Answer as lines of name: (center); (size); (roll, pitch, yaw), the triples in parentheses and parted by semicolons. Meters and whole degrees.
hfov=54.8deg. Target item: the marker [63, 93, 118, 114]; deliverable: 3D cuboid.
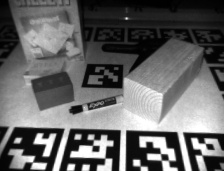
marker: (-0.048, 0.039, 0.476); (0.122, 0.020, 0.019); (-14, 48, -13)

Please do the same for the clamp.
clamp: (0.086, -0.115, 0.621); (0.204, 0.037, 0.163); (-22, 49, -20)

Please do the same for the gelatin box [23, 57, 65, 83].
gelatin box: (-0.173, -0.041, 0.558); (0.089, 0.030, 0.073); (0, 46, 1)

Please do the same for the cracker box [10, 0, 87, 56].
cracker box: (-0.157, -0.182, 0.559); (0.164, 0.215, 0.071); (-1, 43, -2)

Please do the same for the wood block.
wood block: (0.116, -0.027, 0.498); (0.089, 0.091, 0.208); (26, 48, 28)

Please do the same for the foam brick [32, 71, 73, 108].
foam brick: (-0.136, 0.007, 0.489); (0.078, 0.051, 0.052); (-17, 48, -15)
